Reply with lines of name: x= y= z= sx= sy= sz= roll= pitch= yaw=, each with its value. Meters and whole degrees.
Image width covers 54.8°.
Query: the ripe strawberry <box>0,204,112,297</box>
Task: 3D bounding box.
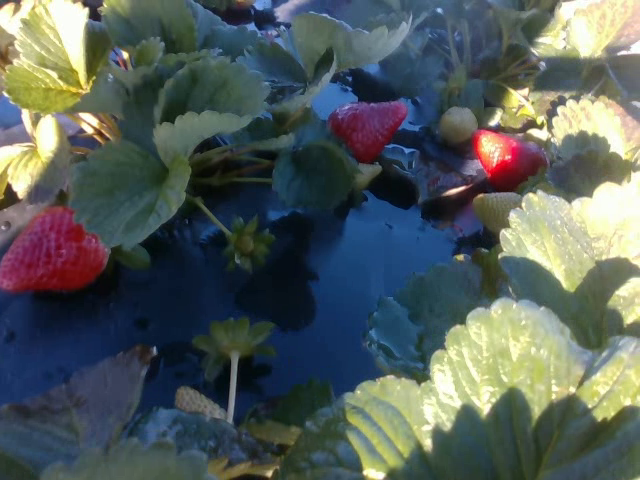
ripe strawberry: x=-0.122 y=0.007 z=0.275 sx=0.045 sy=0.042 sz=0.059 roll=-5 pitch=34 yaw=45
